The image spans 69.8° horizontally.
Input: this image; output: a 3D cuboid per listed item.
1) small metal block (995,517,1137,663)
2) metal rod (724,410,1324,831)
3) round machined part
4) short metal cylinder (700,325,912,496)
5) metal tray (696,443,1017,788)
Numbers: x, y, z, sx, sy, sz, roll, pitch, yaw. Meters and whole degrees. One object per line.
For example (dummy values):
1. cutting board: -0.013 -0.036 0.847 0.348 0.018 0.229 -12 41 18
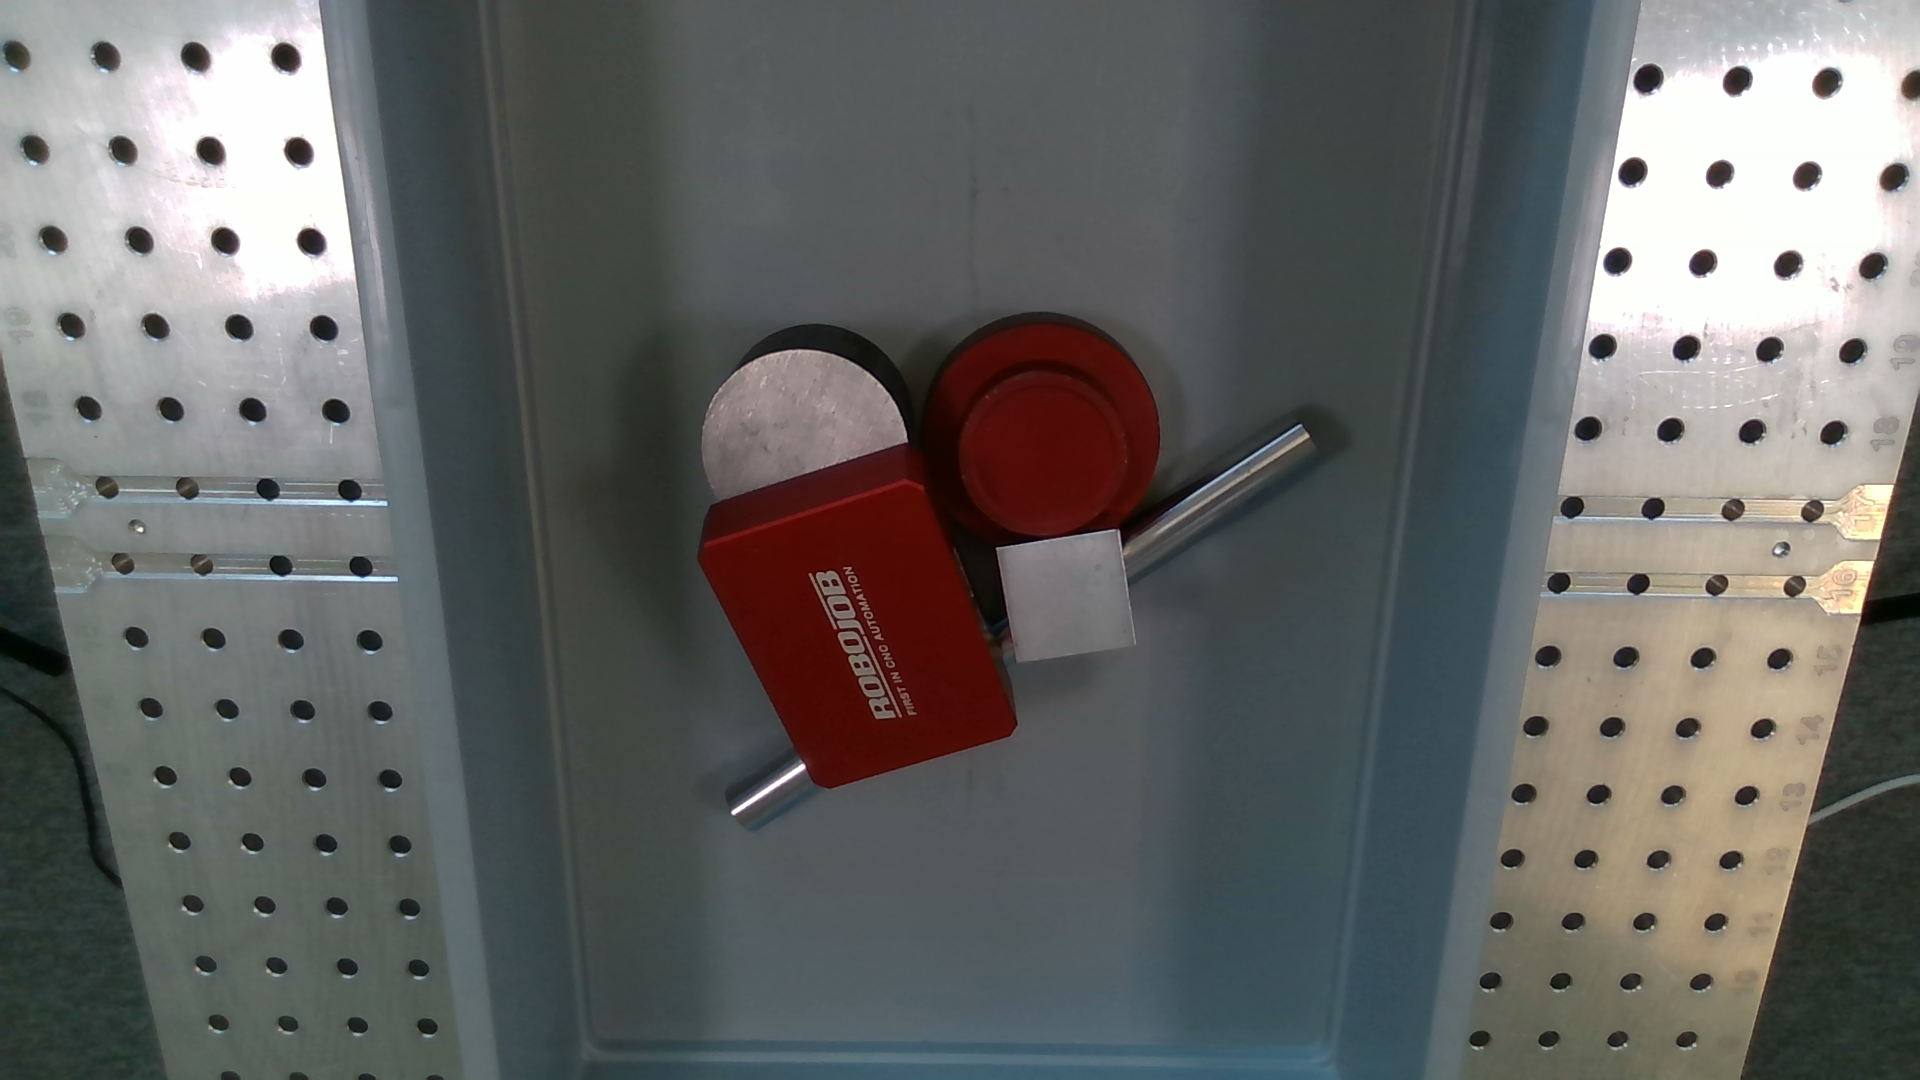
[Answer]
1. small metal block: 0.044 0.019 0.566 0.050 0.025 0.050 -9 105 6
2. metal rod: 0.022 0.039 0.598 0.300 0.025 0.025 -34 107 12
3. round machined part: 0.033 -0.040 0.559 0.098 0.042 0.098 0 109 0
4. short metal cylinder: -0.060 -0.043 0.554 0.080 0.050 0.080 0 110 0
5. metal tray: -0.039 0.034 0.553 0.090 0.030 0.130 -17 122 7
